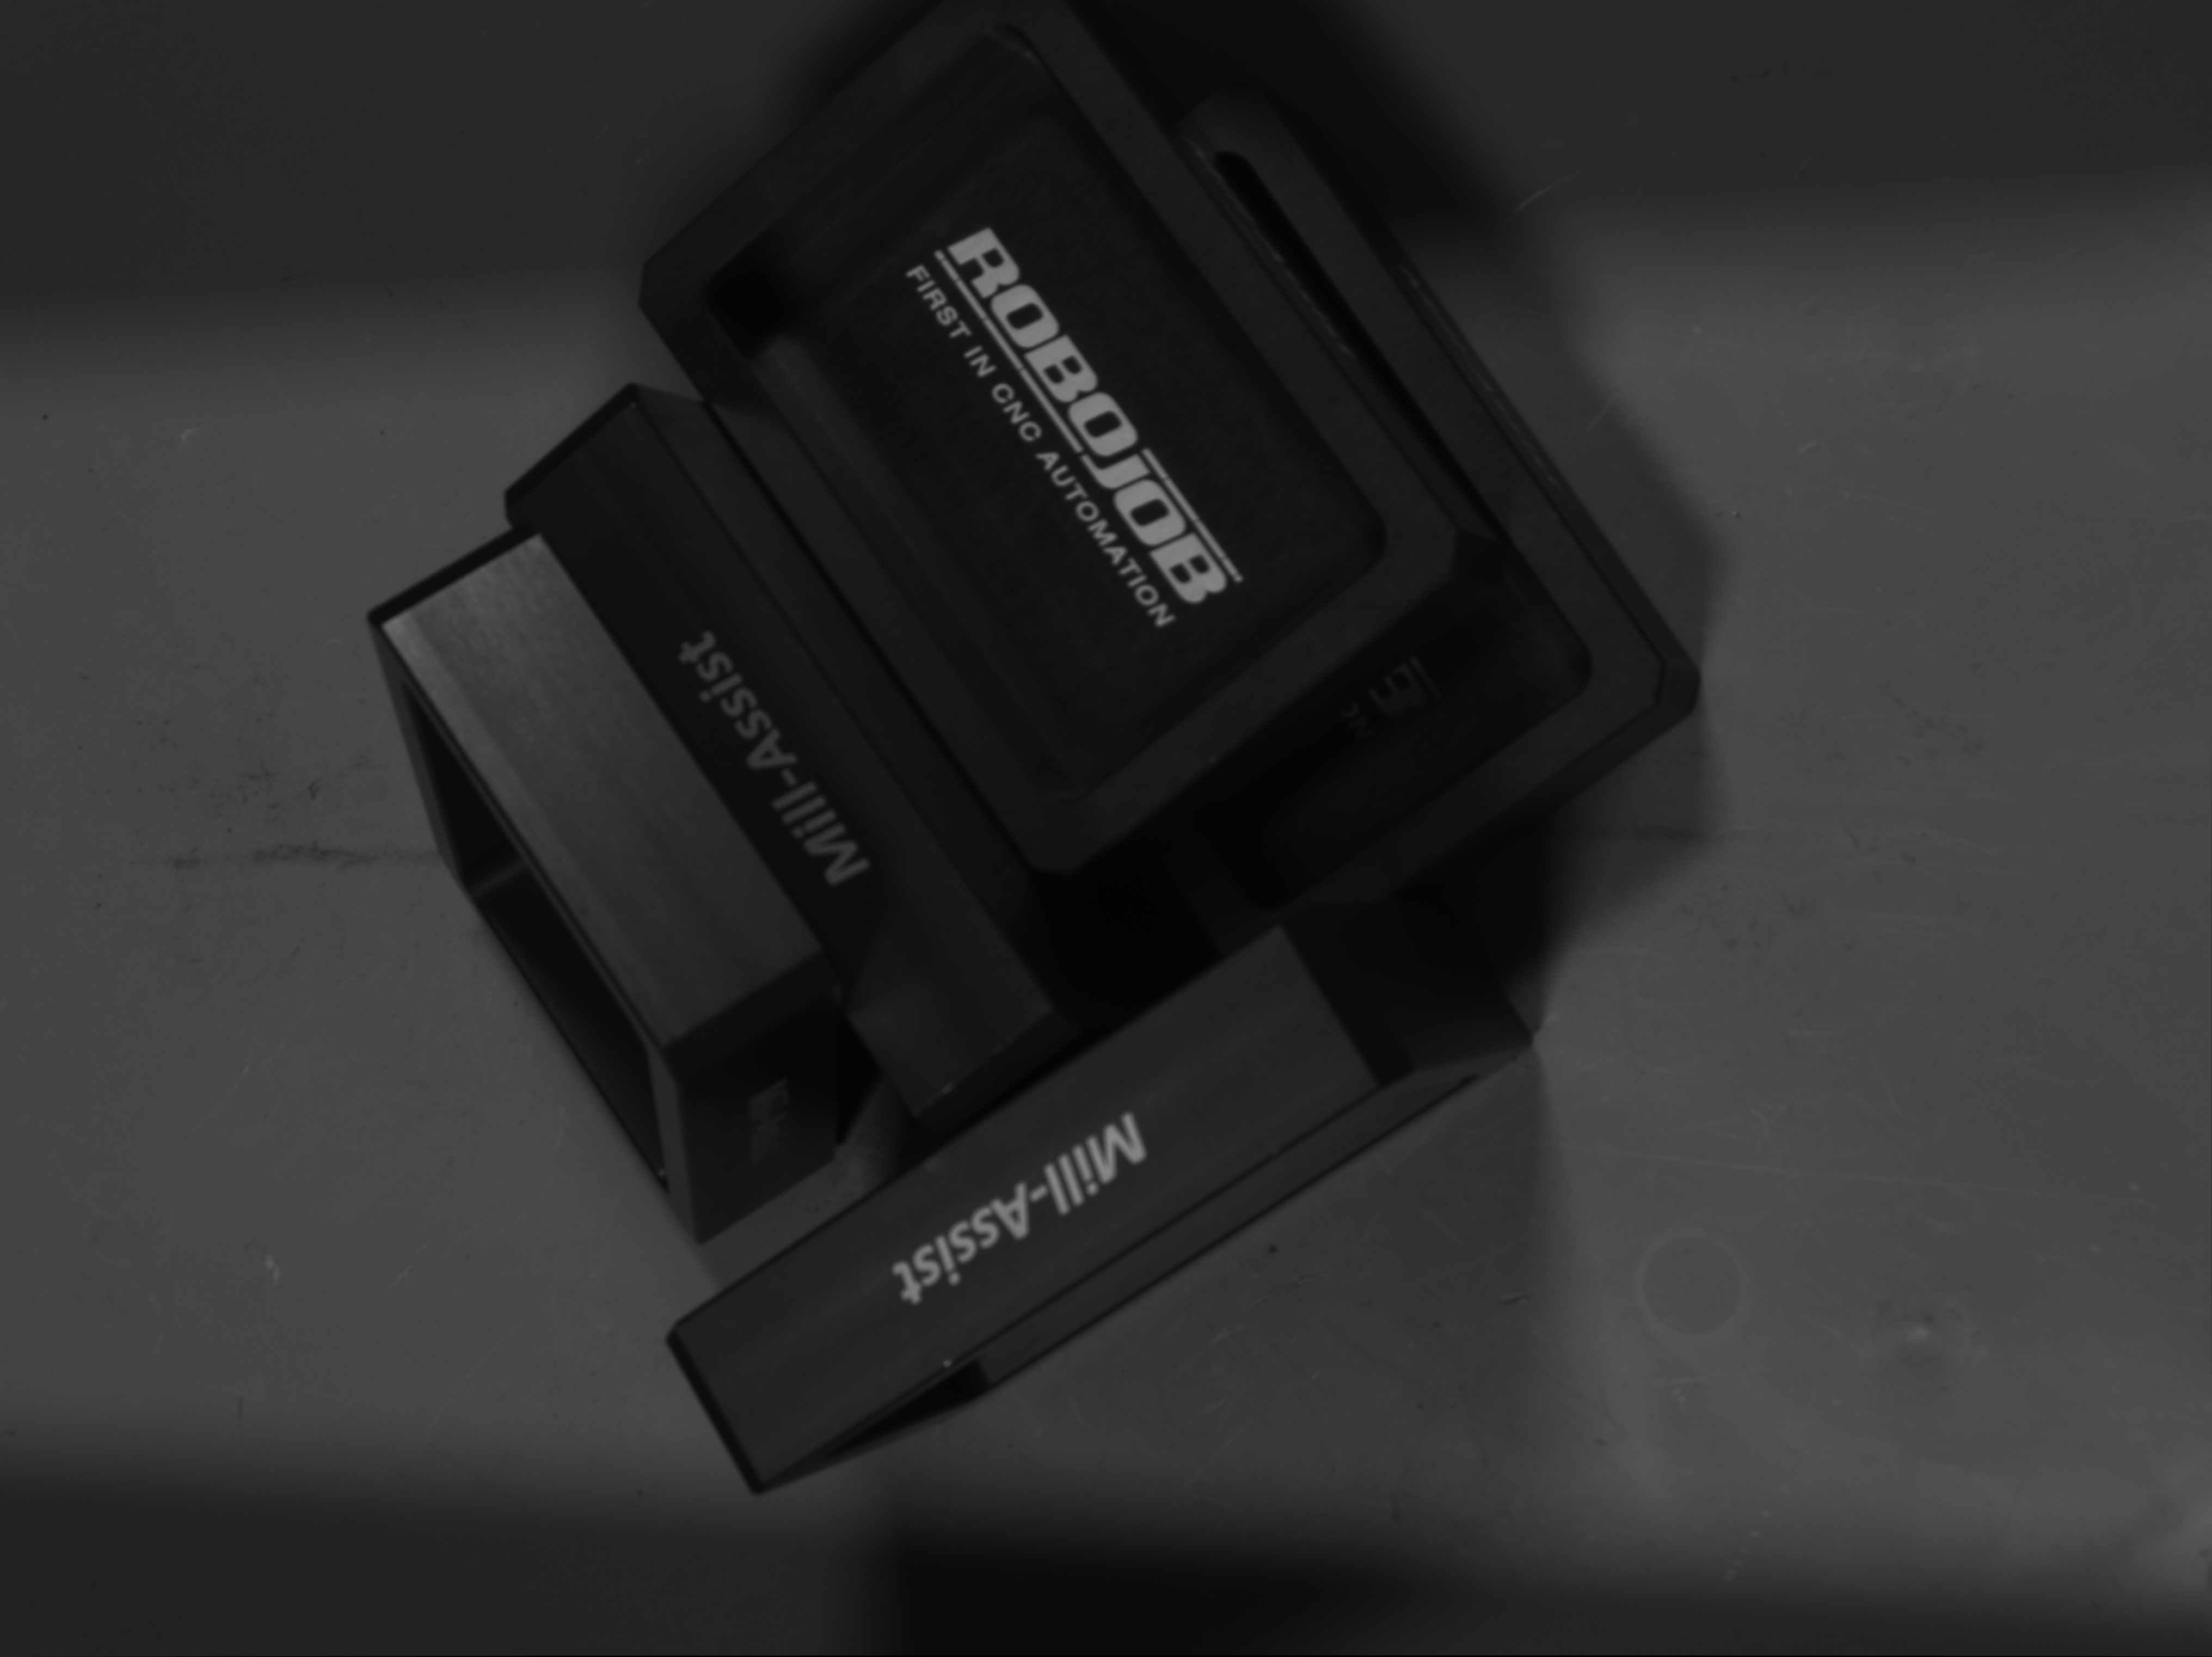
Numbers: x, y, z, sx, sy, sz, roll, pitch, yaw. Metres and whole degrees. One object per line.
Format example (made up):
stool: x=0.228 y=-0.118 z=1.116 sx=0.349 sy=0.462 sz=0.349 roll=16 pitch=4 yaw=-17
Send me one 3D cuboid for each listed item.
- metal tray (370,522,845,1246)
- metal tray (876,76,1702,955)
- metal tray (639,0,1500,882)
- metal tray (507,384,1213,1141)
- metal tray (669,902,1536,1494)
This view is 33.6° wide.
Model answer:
metal tray: x=-0.082 y=0.014 z=0.618 sx=0.030 sy=0.130 sz=0.090 roll=-32 pitch=78 yaw=-14
metal tray: x=0.030 y=-0.051 z=0.631 sx=0.090 sy=0.030 sz=0.130 roll=-36 pitch=78 yaw=18
metal tray: x=-0.007 y=-0.067 z=0.611 sx=0.090 sy=0.030 sz=0.130 roll=-38 pitch=77 yaw=16
metal tray: x=-0.037 y=-0.011 z=0.621 sx=0.030 sy=0.090 sz=0.130 roll=-38 pitch=78 yaw=16
metal tray: x=0.002 y=0.060 z=0.608 sx=0.130 sy=0.090 sz=0.030 roll=-34 pitch=79 yaw=16
